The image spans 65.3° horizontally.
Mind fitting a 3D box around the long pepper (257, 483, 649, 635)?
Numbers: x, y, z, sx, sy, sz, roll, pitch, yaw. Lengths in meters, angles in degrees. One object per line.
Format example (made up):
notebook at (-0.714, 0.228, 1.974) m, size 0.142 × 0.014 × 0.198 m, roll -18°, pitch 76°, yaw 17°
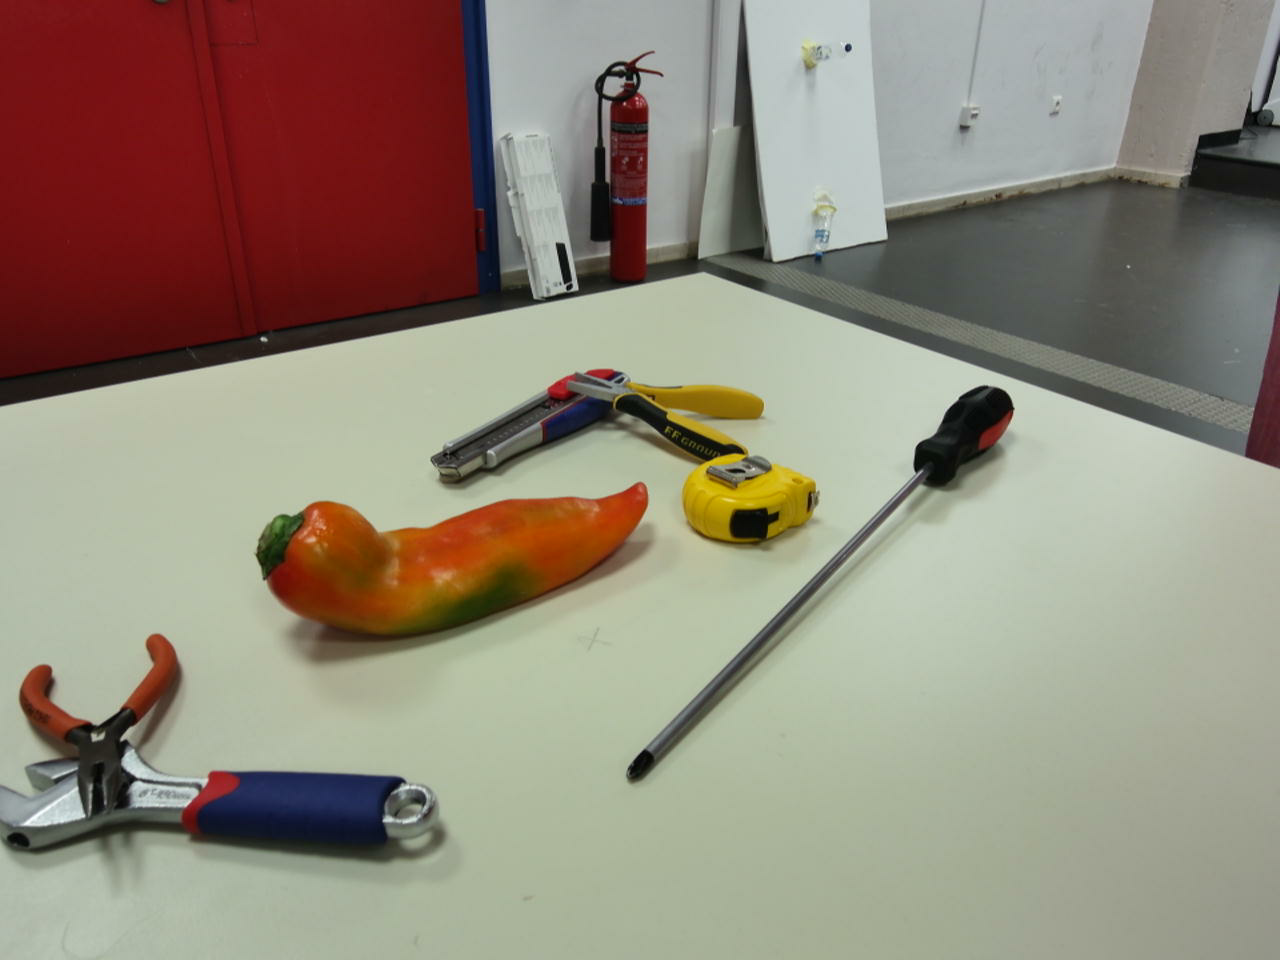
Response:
long pepper at (-0.077, 0.025, 0.480) m, size 0.199 × 0.065 × 0.066 m, roll -15°, pitch 29°, yaw -29°
